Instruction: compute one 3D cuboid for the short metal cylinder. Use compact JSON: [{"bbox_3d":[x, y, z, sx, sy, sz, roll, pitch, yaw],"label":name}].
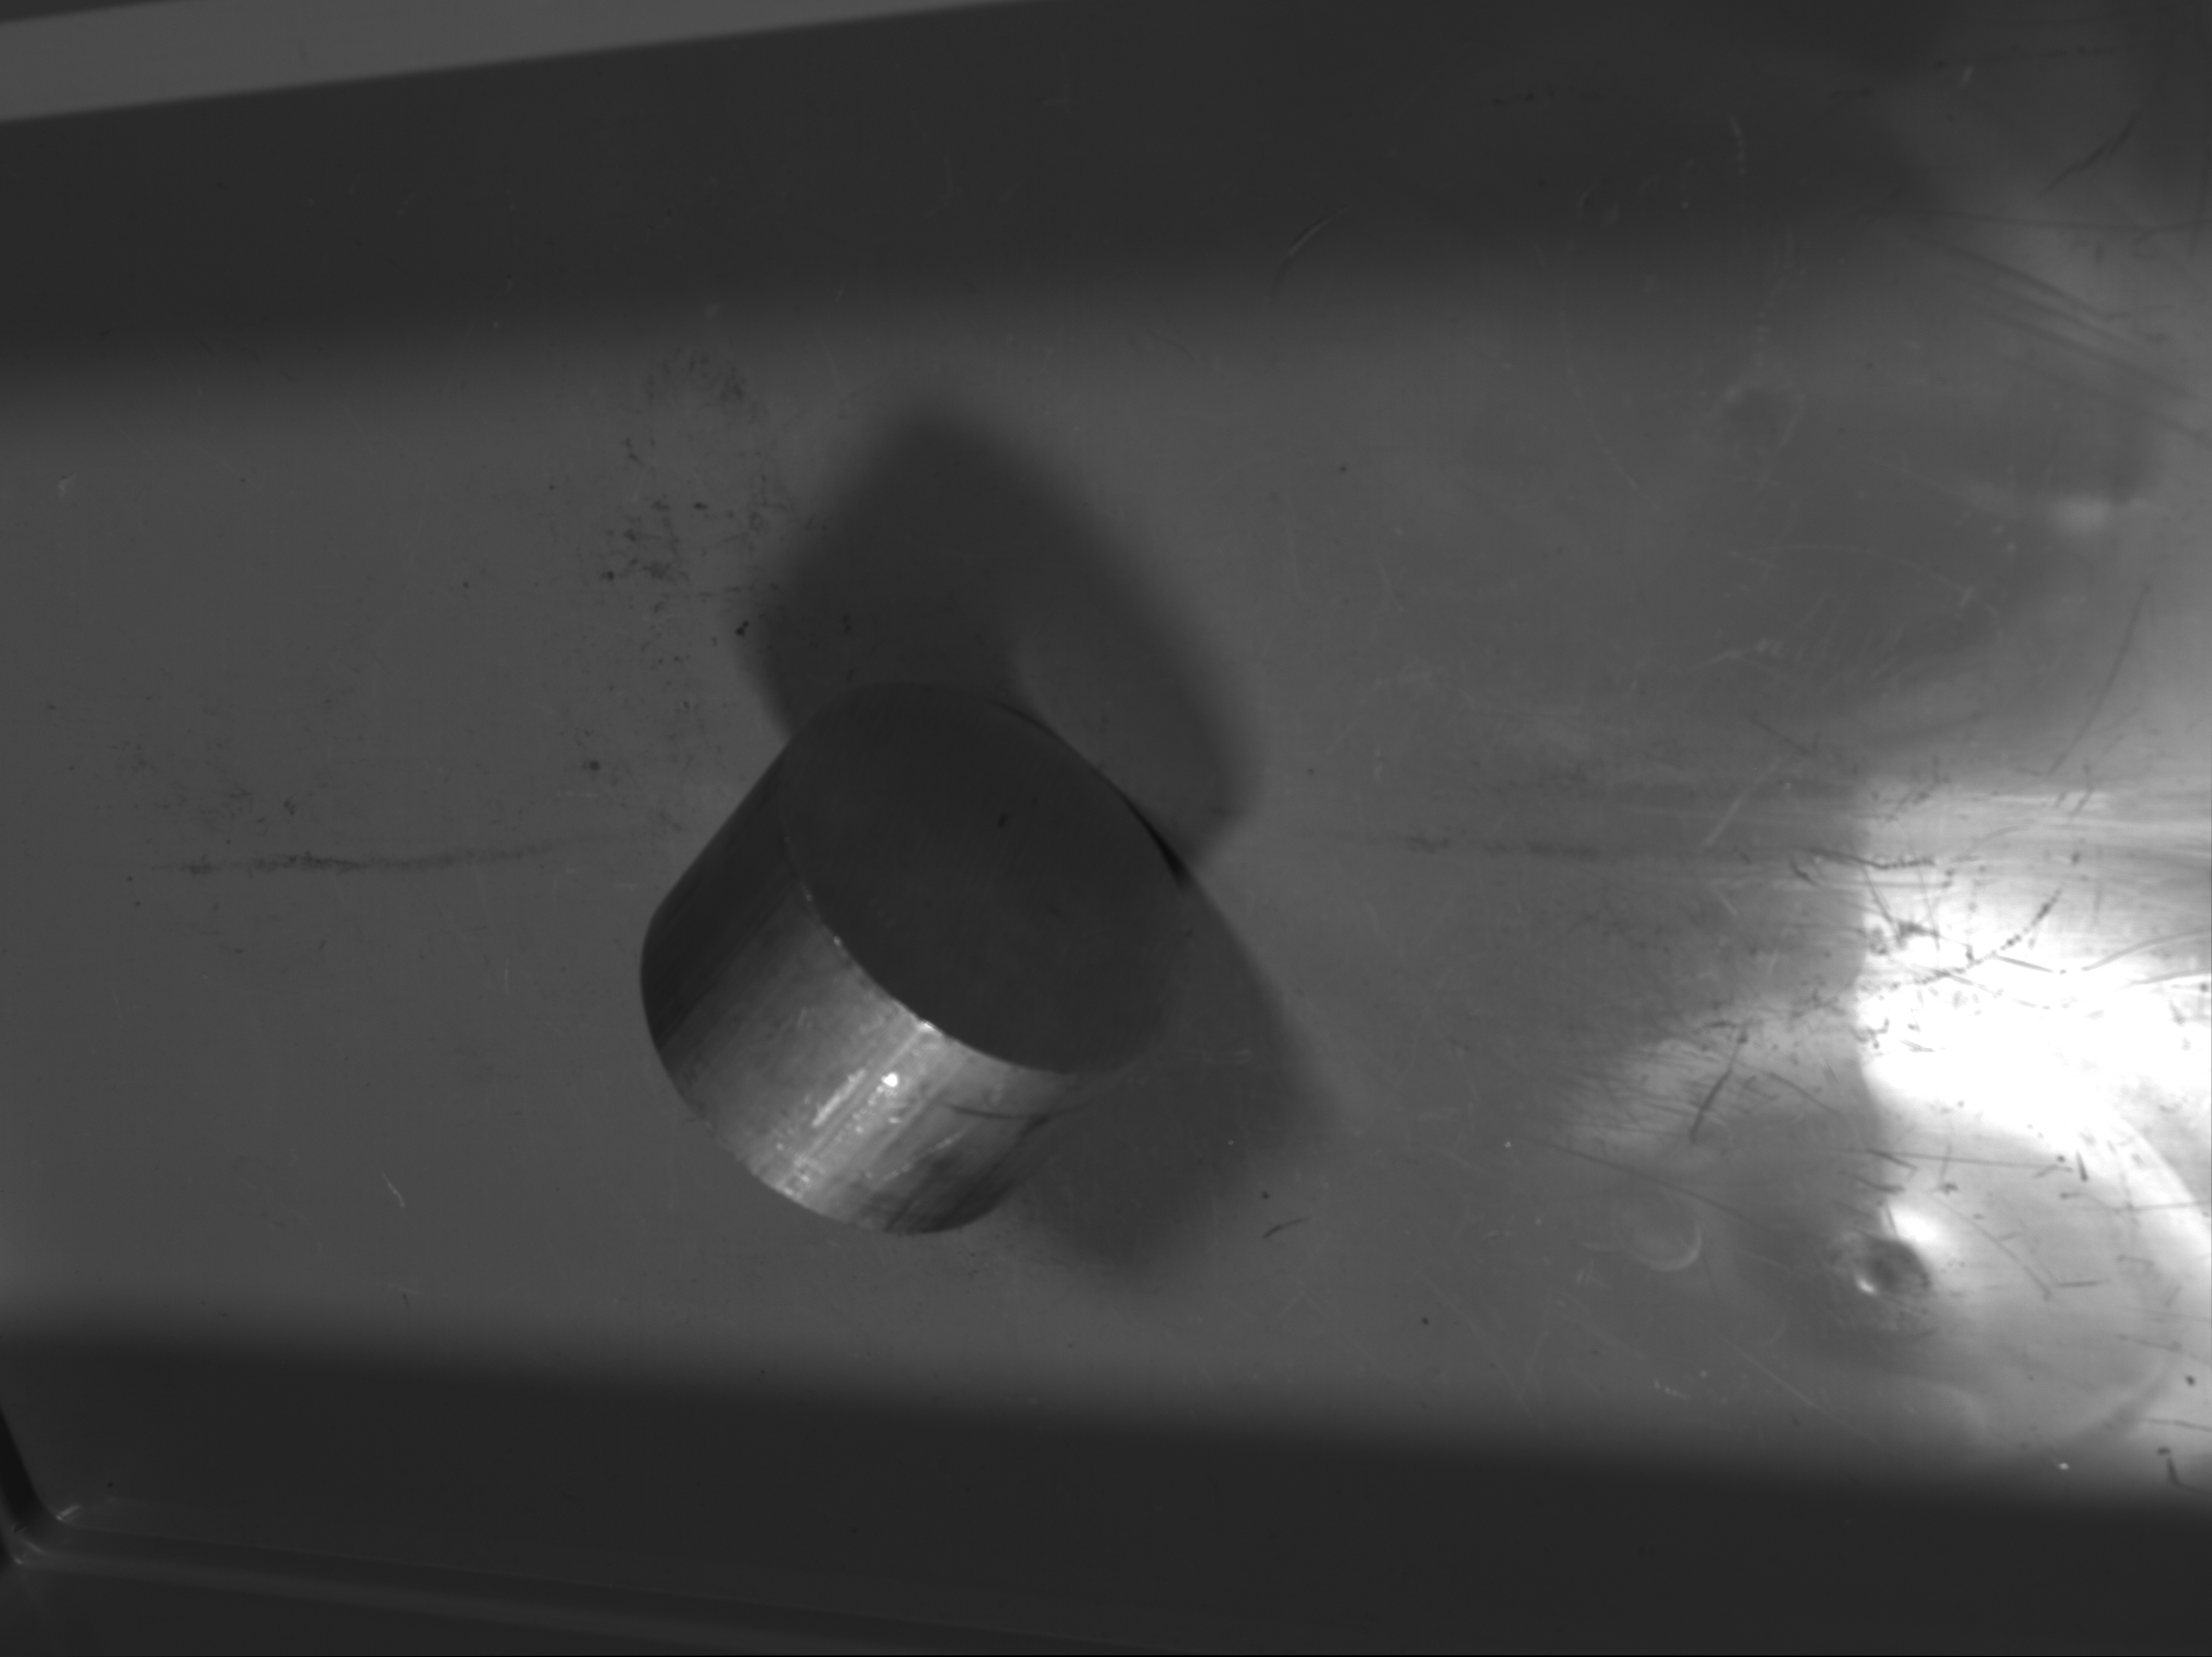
[{"bbox_3d":[-0.037,0.022,0.625,0.080,0.080,0.050,41,128,-1],"label":"short metal cylinder"}]
